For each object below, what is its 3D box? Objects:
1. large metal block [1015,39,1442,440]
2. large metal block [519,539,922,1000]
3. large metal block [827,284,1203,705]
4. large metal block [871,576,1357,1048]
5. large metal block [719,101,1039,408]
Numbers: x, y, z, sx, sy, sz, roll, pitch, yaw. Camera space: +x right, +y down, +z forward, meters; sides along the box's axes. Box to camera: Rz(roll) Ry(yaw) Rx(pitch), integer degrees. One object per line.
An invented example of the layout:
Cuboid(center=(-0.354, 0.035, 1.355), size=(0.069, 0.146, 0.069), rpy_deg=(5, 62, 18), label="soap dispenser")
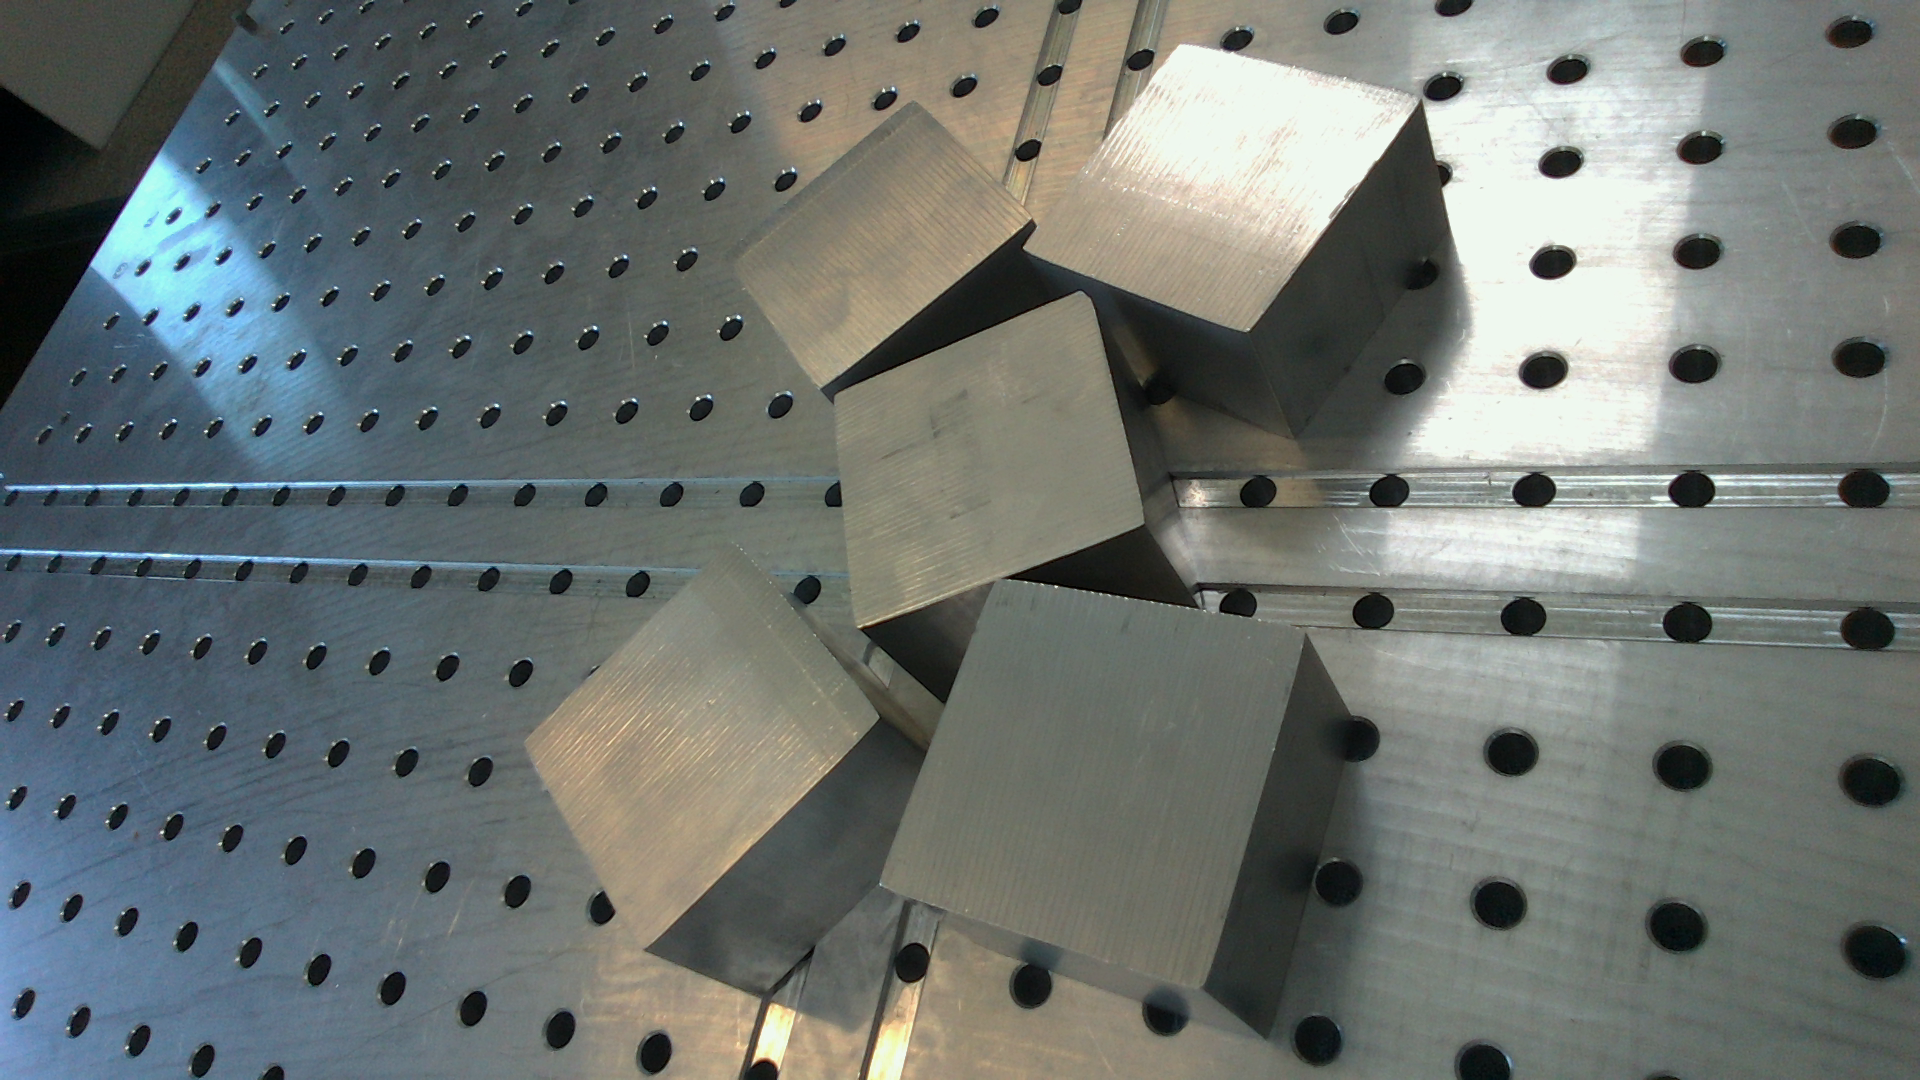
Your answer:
Cuboid(center=(0.077, -0.087, 0.391), size=(0.080, 0.050, 0.080), rpy_deg=(30, 78, 35), label="large metal block")
Cuboid(center=(-0.060, 0.061, 0.373), size=(0.080, 0.050, 0.080), rpy_deg=(-44, 50, -3), label="large metal block")
Cuboid(center=(0.013, -0.011, 0.379), size=(0.080, 0.050, 0.080), rpy_deg=(-21, 54, 16), label="large metal block")
Cuboid(center=(0.038, 0.061, 0.322), size=(0.080, 0.050, 0.080), rpy_deg=(9, 66, 32), label="large metal block")
Cuboid(center=(-0.019, -0.080, 0.440), size=(0.080, 0.050, 0.080), rpy_deg=(-38, 50, 3), label="large metal block")
